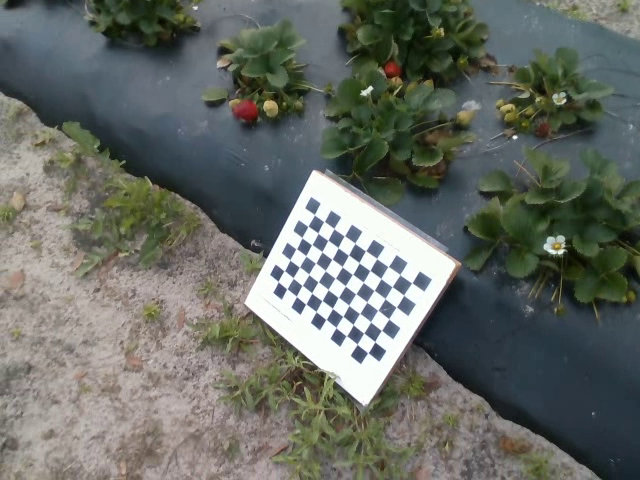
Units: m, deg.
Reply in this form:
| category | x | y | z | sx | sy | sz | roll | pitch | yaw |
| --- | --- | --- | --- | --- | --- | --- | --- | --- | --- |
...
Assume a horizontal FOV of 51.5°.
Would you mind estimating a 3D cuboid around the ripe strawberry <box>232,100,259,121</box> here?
| category | x | y | z | sx | sy | sz | roll | pitch | yaw |
| --- | --- | --- | --- | --- | --- | --- | --- | --- | --- |
| ripe strawberry | -0.148 | -0.252 | 1.282 | 0.046 | 0.046 | 0.059 | 30 | 35 | 29 |
